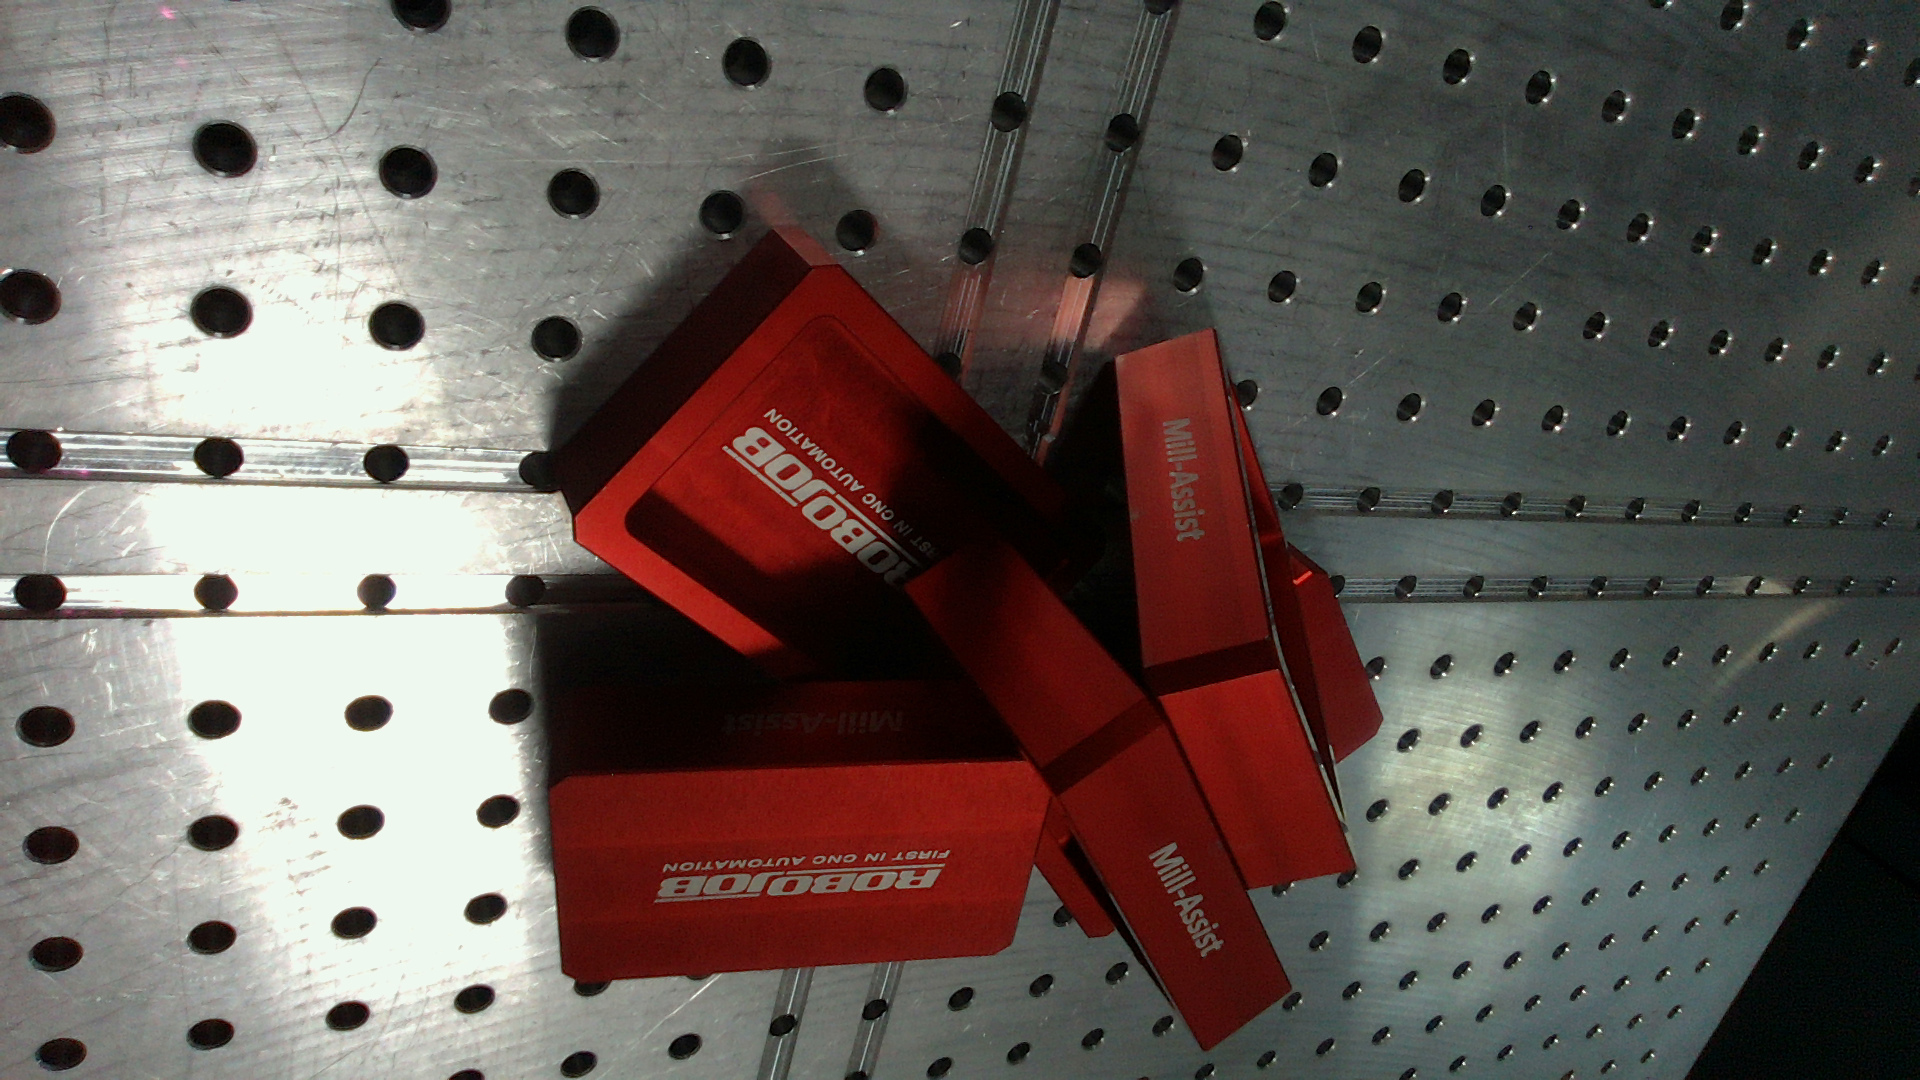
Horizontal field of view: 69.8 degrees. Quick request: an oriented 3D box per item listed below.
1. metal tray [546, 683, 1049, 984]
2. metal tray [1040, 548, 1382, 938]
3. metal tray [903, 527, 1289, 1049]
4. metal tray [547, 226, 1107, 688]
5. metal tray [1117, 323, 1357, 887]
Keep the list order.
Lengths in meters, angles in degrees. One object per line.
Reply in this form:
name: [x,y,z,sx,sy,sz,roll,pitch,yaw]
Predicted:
metal tray: [-0.045,0.082,0.384,0.130,0.030,0.090,0,130,-12]
metal tray: [0.075,0.068,0.470,0.130,0.030,0.090,-36,129,-5]
metal tray: [0.038,0.068,0.373,0.030,0.090,0.130,-33,129,-6]
metal tray: [-0.030,-0.008,0.367,0.090,0.030,0.130,-46,129,3]
metal tray: [0.074,0.014,0.374,0.030,0.130,0.090,-15,130,16]
